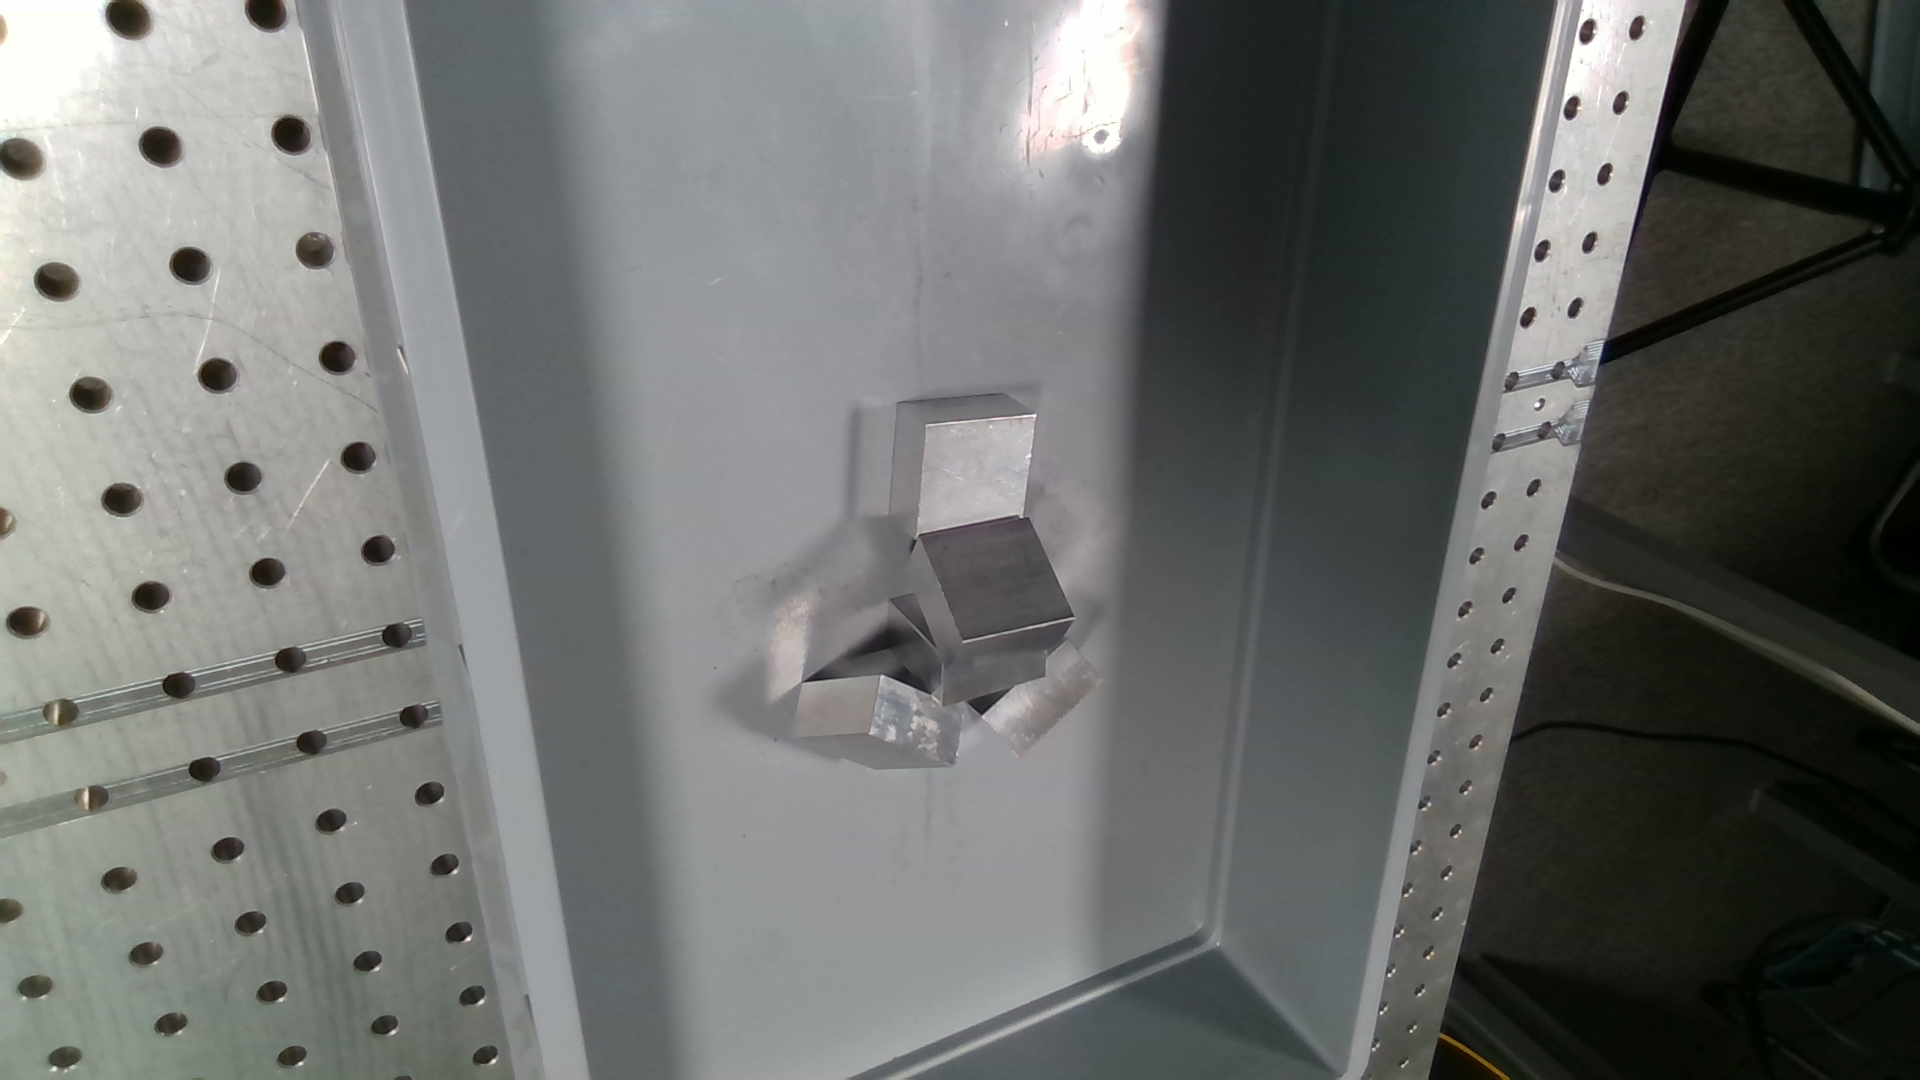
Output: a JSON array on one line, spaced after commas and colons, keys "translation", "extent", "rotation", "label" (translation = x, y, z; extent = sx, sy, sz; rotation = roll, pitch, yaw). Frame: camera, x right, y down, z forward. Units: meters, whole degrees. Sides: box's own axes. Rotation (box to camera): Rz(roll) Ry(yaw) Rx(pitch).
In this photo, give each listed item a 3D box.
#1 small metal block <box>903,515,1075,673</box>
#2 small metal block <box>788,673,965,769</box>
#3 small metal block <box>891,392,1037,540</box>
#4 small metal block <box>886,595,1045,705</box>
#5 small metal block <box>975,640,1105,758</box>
[{"translation": [0.011, 0.021, 0.558], "extent": [0.050, 0.050, 0.025], "rotation": [-10, 151, -24], "label": "small metal block"}, {"translation": [-0.035, 0.077, 0.580], "extent": [0.050, 0.050, 0.025], "rotation": [28, 63, -39], "label": "small metal block"}, {"translation": [0.001, -0.031, 0.561], "extent": [0.050, 0.025, 0.050], "rotation": [-8, 119, -28], "label": "small metal block"}, {"translation": [0.002, 0.041, 0.587], "extent": [0.050, 0.050, 0.025], "rotation": [-13, 121, -25], "label": "small metal block"}, {"translation": [0.032, 0.067, 0.616], "extent": [0.050, 0.050, 0.025], "rotation": [-42, 97, -6], "label": "small metal block"}]
